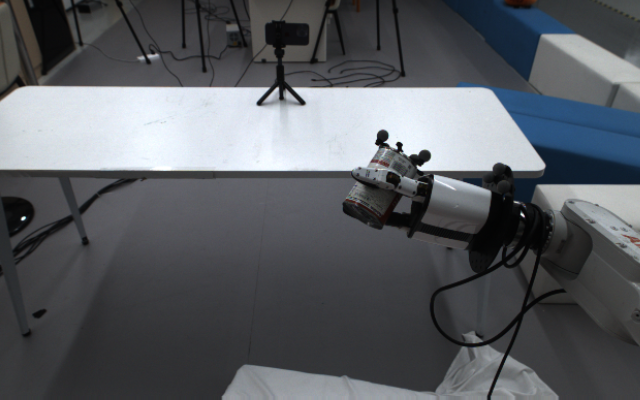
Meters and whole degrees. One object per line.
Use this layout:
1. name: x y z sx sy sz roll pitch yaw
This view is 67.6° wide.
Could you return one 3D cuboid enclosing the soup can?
1. soup can: 0.087 -0.019 0.700 0.067 0.067 0.101 27 75 31
